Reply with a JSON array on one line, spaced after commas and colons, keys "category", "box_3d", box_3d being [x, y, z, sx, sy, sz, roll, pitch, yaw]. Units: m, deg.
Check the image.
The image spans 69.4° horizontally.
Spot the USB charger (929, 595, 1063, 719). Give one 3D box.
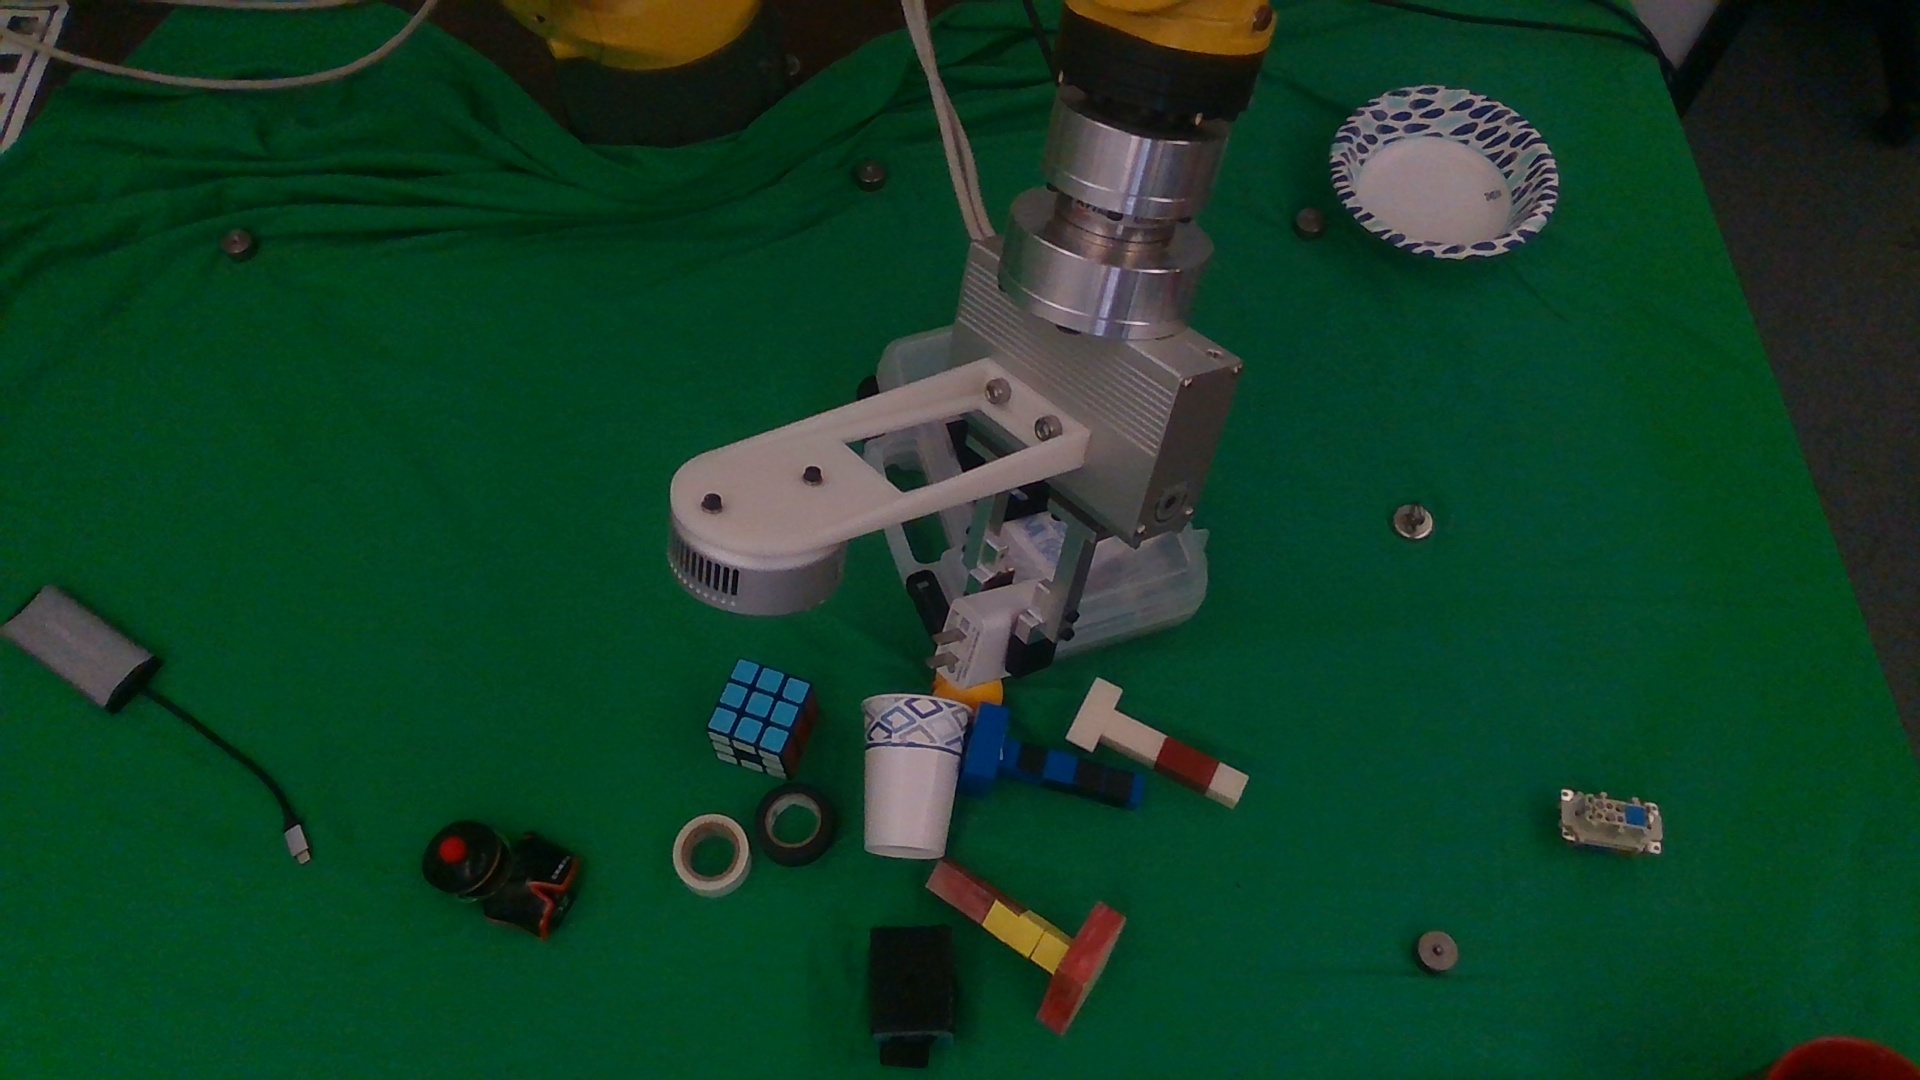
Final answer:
[{"category": "USB charger", "box_3d": [0.016, 0.050, 0.586, 0.029, 0.044, 0.075, 28, 24, 35]}]

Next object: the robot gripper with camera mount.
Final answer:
[{"category": "robot gripper with camera mount", "box_3d": [-0.018, 0.009, 0.517, 0.193, 0.158, 0.119, -15, 40, -36]}]
